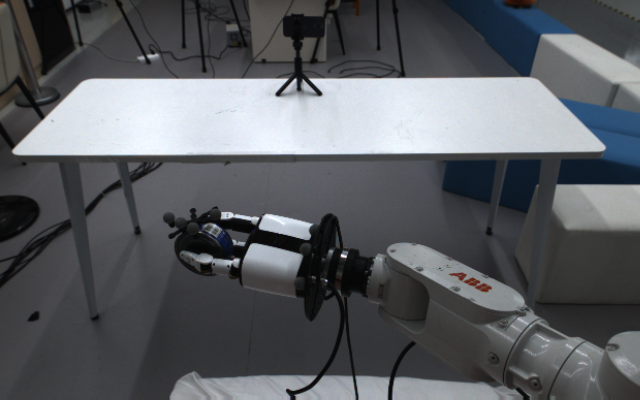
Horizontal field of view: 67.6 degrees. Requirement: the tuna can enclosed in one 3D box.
[{"bbox_3d":[-0.171,0.077,0.744,0.085,0.085,0.034,9,32,10],"label":"tuna can"}]
